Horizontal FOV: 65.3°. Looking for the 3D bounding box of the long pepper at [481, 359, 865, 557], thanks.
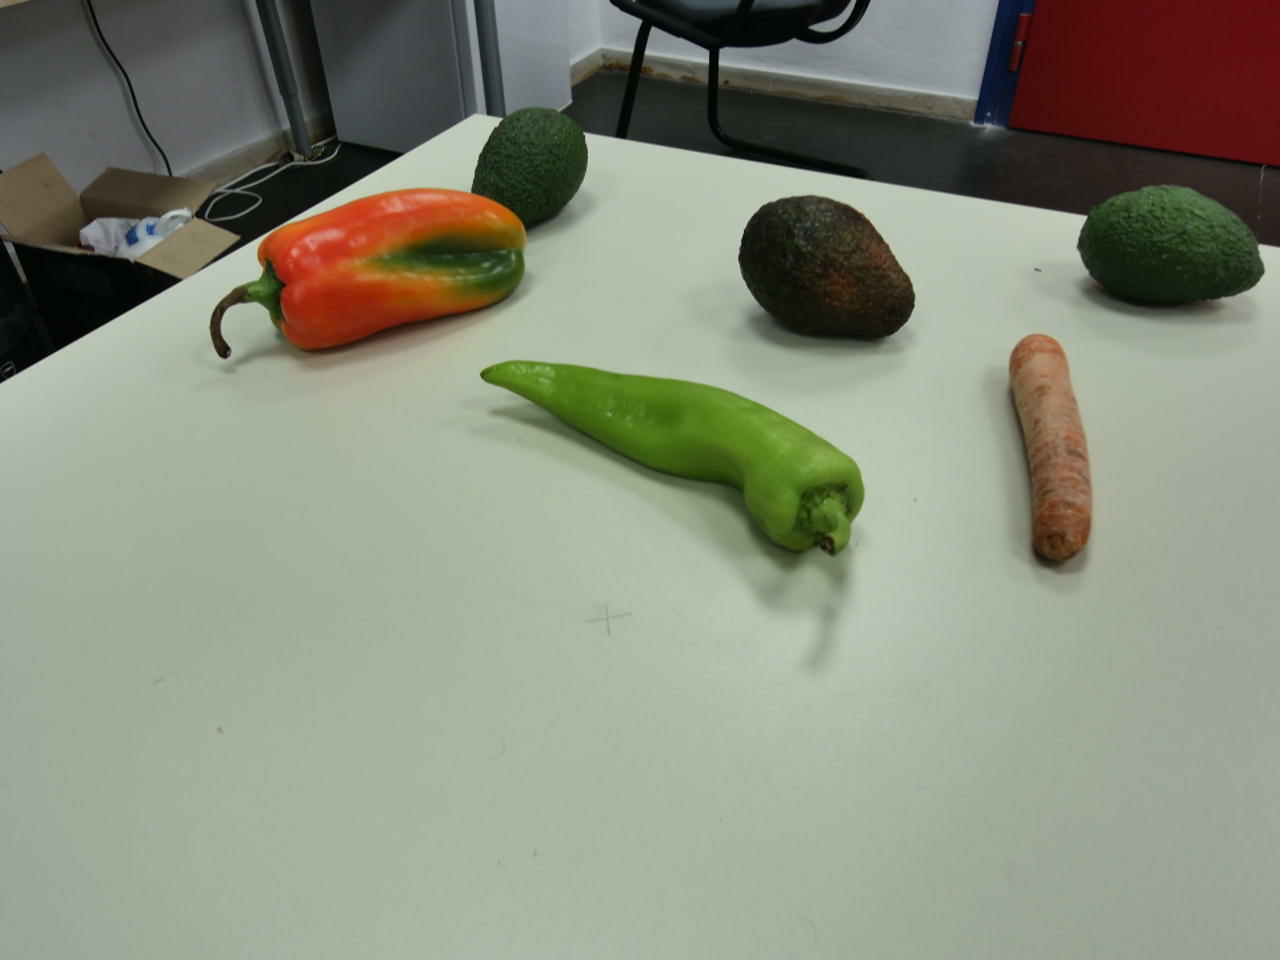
[{"bbox_3d":[0.018,-0.022,0.448,0.205,0.045,0.065,30,46,33],"label":"long pepper"}]
